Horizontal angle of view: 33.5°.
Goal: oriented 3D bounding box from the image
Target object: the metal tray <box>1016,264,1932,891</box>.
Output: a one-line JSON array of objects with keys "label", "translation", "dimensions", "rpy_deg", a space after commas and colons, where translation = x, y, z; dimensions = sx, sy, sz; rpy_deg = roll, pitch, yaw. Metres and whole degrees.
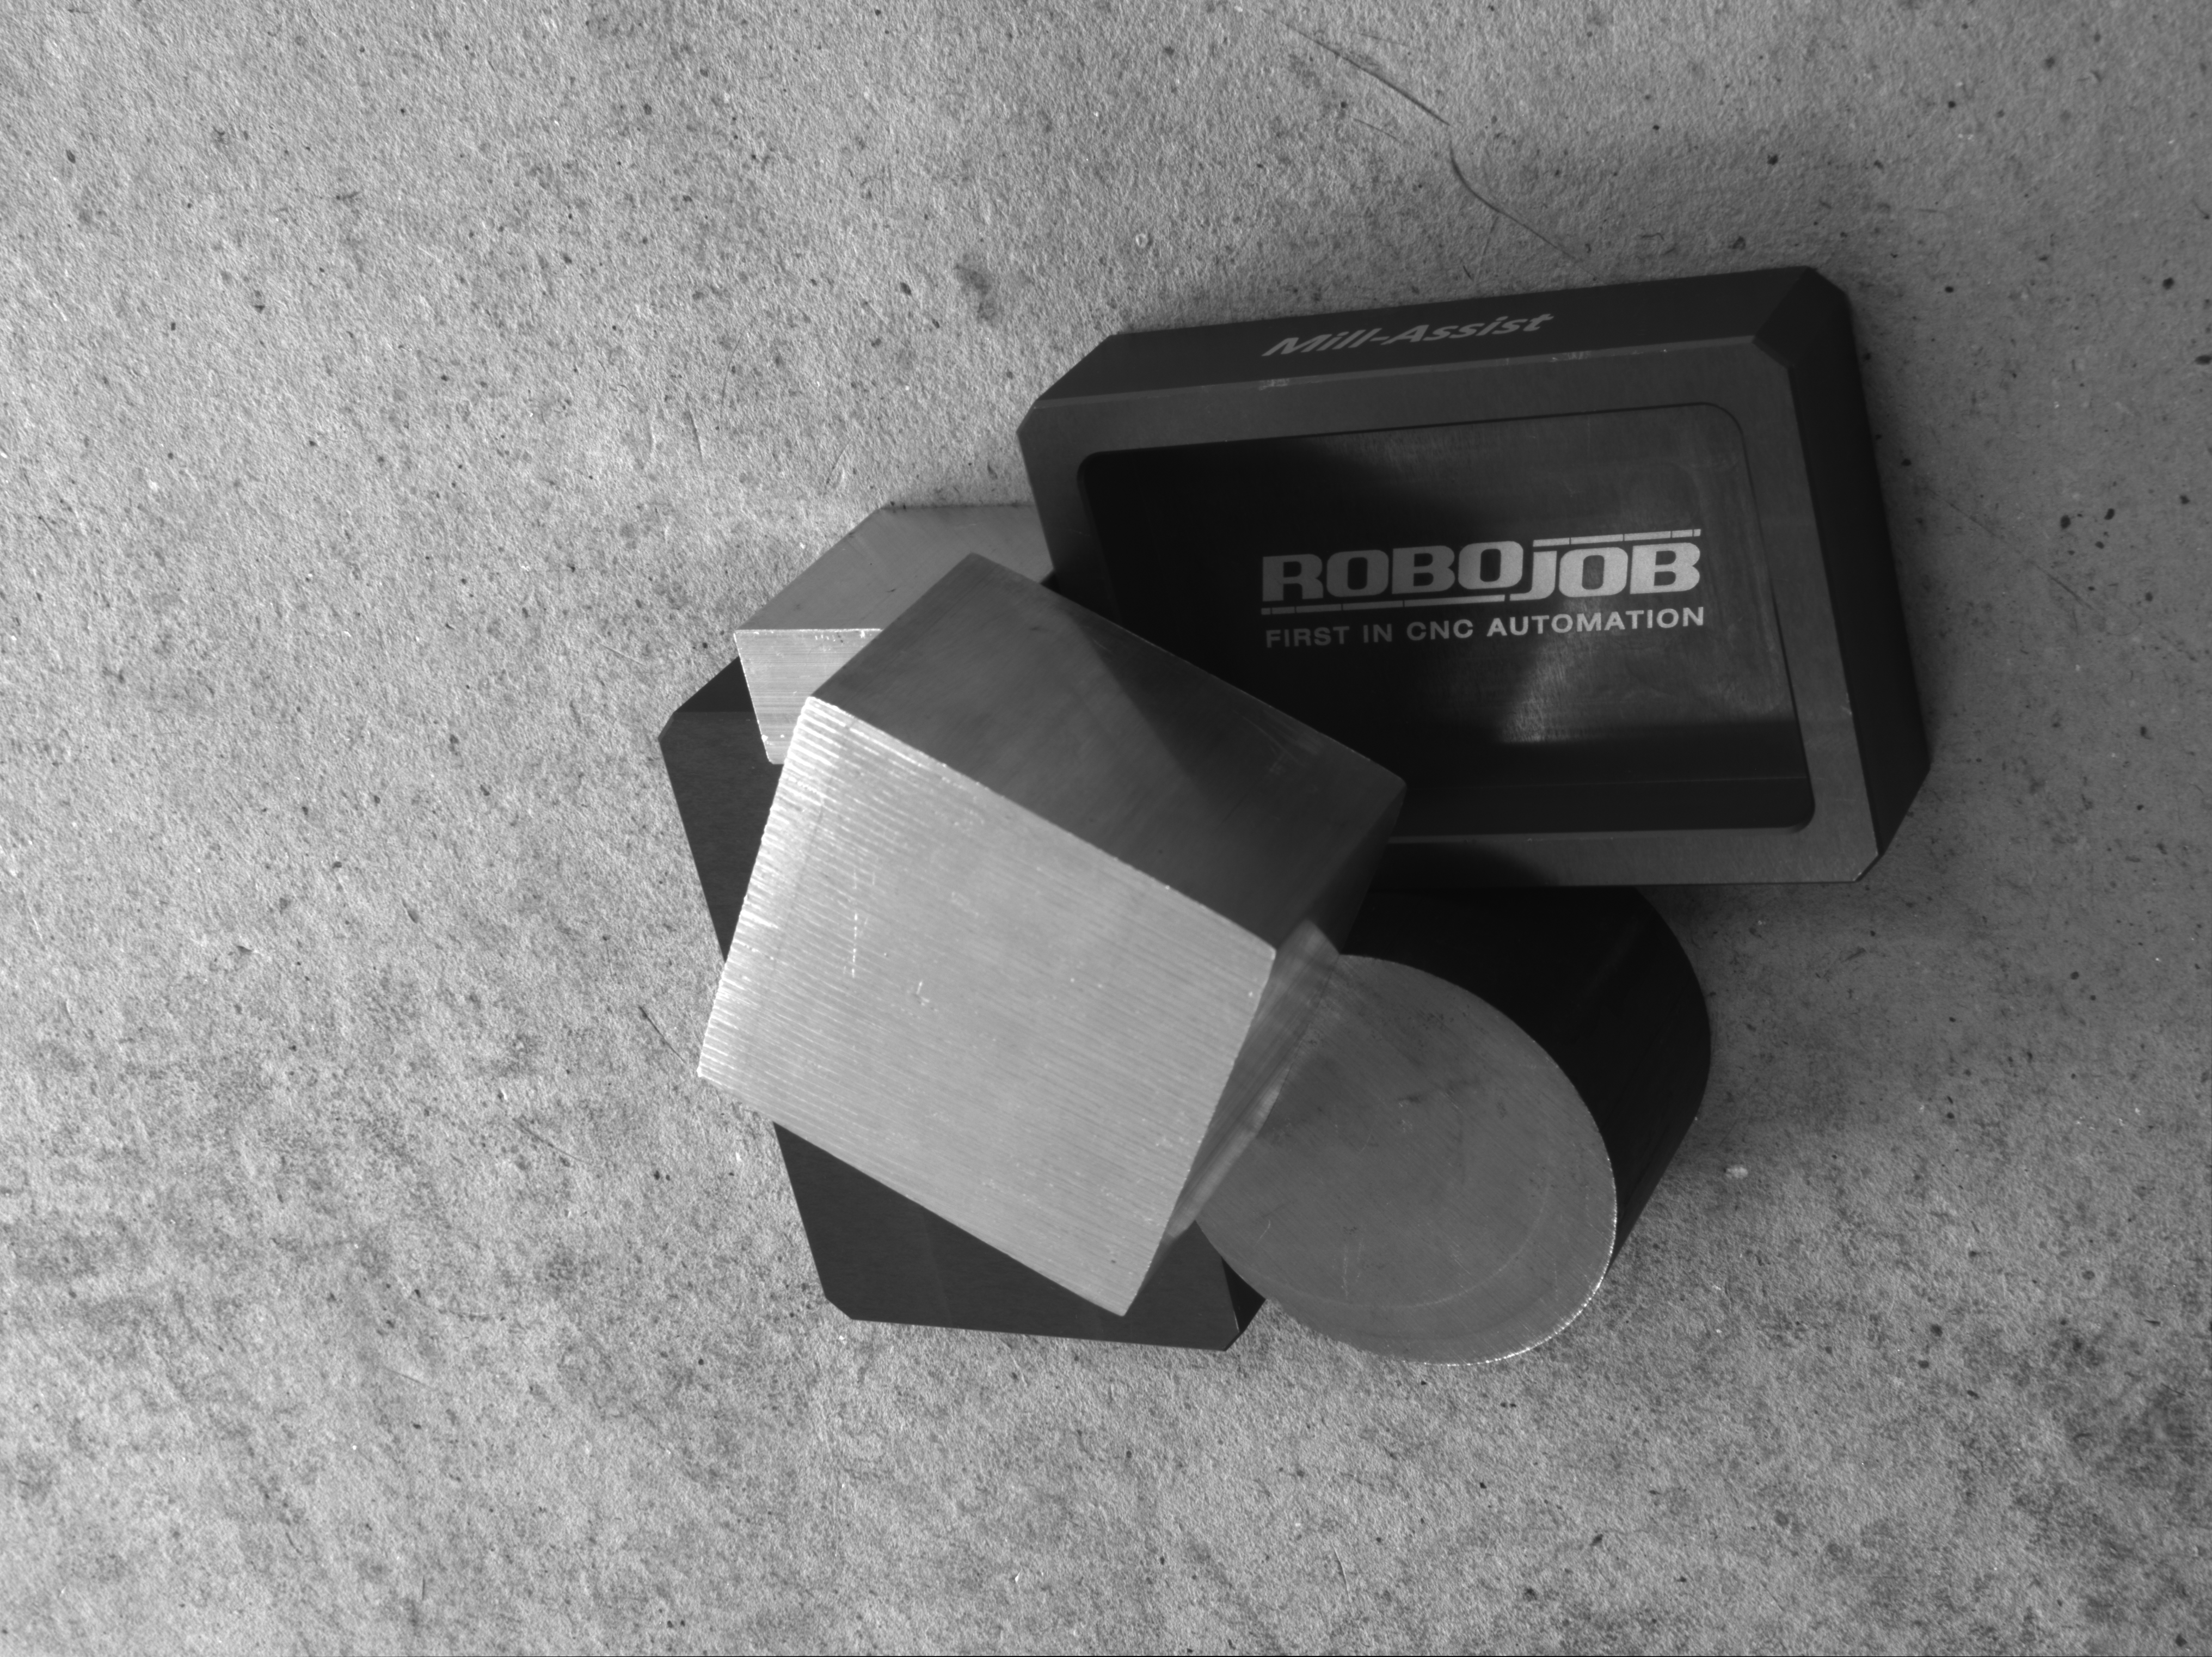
[{"label": "metal tray", "translation": [0.058, -0.037, 0.586], "dimensions": [0.130, 0.030, 0.090], "rpy_deg": [-2, 117, 29]}]

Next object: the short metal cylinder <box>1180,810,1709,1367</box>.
[{"label": "short metal cylinder", "translation": [0.056, 0.044, 0.623], "dimensions": [0.080, 0.050, 0.080], "rpy_deg": [14, 124, 21]}]

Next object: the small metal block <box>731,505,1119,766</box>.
[{"label": "small metal block", "translation": [-0.027, -0.033, 0.621], "dimensions": [0.050, 0.050, 0.025], "rpy_deg": [1, 119, 28]}]

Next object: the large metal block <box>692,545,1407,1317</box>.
[{"label": "large metal block", "translation": [-0.010, 0.016, 0.576], "dimensions": [0.080, 0.050, 0.080], "rpy_deg": [29, 128, 10]}]

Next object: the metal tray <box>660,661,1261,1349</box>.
[{"label": "metal tray", "translation": [-0.021, 0.030, 0.671], "dimensions": [0.090, 0.030, 0.130], "rpy_deg": [1, 119, 28]}]
